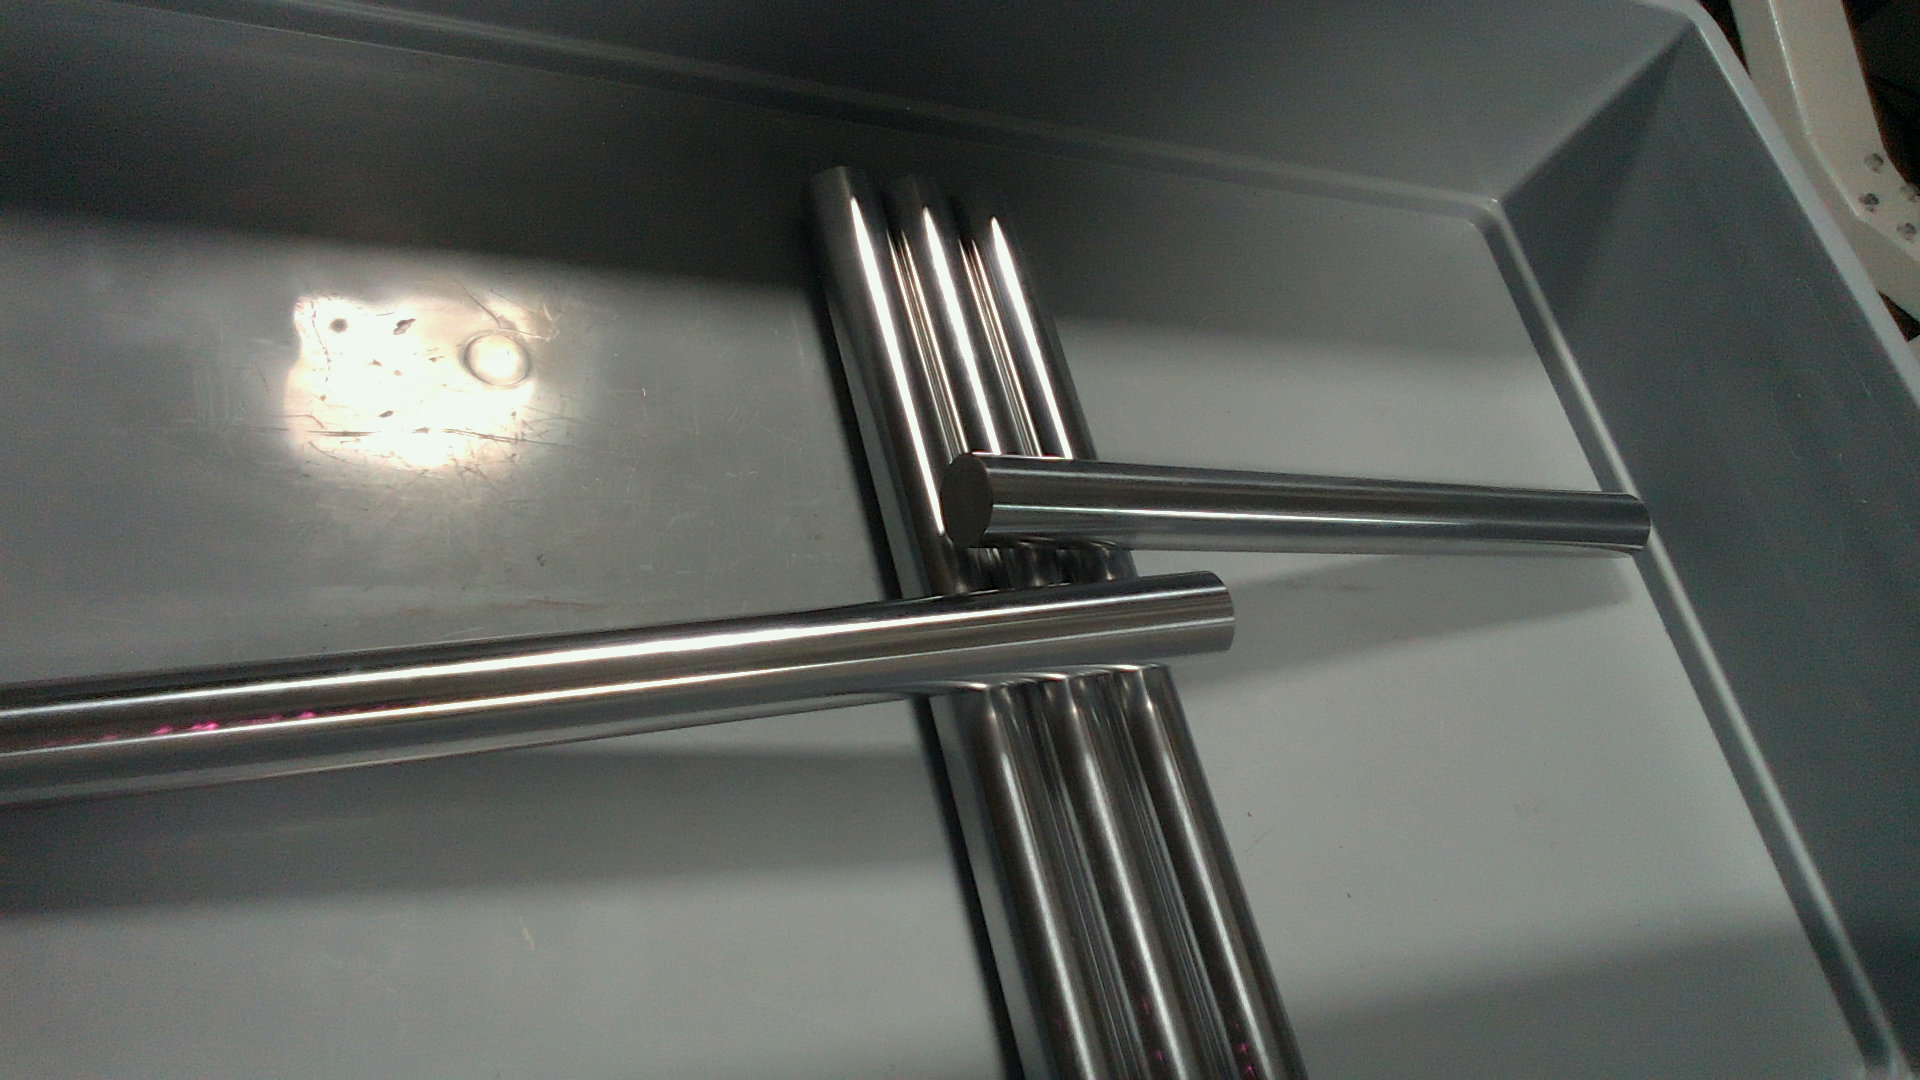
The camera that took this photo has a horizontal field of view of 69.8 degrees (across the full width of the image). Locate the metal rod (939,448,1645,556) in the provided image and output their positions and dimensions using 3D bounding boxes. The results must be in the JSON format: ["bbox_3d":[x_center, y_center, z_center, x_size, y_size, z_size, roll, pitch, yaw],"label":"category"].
[{"bbox_3d":[0.125,-0.008,0.439,0.301,0.025,0.025,1,61,-35],"label":"metal rod"}]

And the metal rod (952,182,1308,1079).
[{"bbox_3d":[0.042,0.021,0.399,0.025,0.025,0.300,-1,62,-29],"label":"metal rod"}]

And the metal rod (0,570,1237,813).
[{"bbox_3d":[-0.070,0.031,0.311,0.301,0.025,0.025,-4,64,-24],"label":"metal rod"}]

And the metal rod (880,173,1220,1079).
[{"bbox_3d":[0.020,0.021,0.386,0.025,0.025,0.300,-1,62,-29],"label":"metal rod"}]

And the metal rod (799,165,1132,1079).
[{"bbox_3d":[-0.002,0.022,0.374,0.025,0.025,0.300,-1,62,-29],"label":"metal rod"}]
